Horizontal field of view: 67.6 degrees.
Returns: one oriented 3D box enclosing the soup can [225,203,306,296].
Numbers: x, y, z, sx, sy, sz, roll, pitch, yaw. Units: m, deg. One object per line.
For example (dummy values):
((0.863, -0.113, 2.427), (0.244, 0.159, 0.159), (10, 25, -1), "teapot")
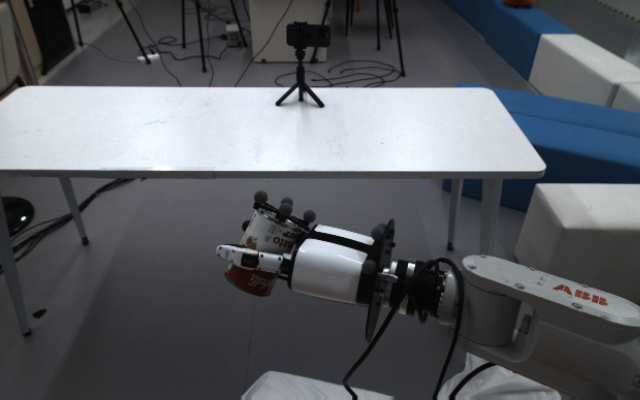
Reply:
((-0.074, 0.068, 0.641), (0.067, 0.101, 0.067), (26, 6, -3), "soup can")
